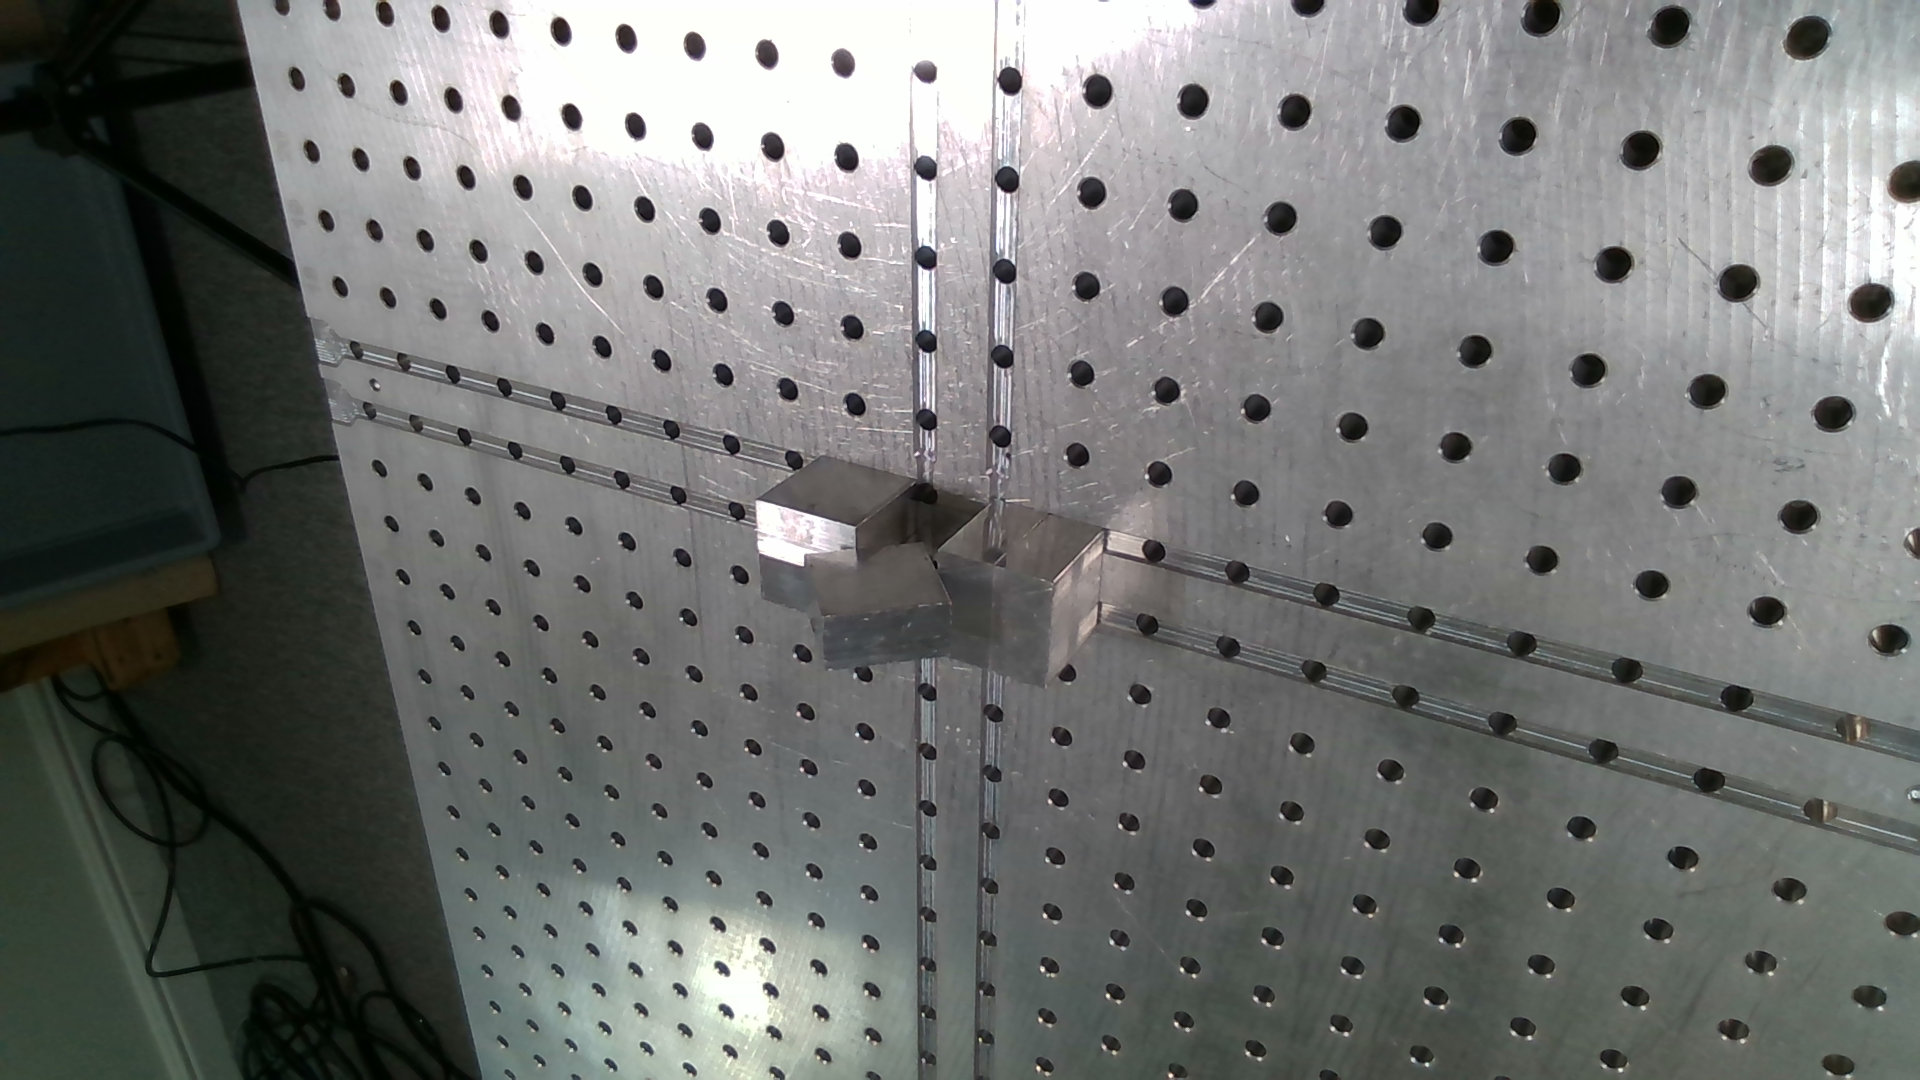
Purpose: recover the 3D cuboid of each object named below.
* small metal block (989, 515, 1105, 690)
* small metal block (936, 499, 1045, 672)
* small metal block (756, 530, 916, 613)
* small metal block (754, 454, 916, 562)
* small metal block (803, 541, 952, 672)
[{"bbox_3d":[0.035,0.024,0.558,0.025,0.050,0.050,16,123,24],"label":"small metal block"},{"bbox_3d":[0.013,0.018,0.568,0.025,0.050,0.050,16,123,24],"label":"small metal block"},{"bbox_3d":[-0.054,0.011,0.604,0.050,0.050,0.025,15,122,24],"label":"small metal block"},{"bbox_3d":[-0.053,-0.011,0.593,0.050,0.050,0.025,15,122,24],"label":"small metal block"},{"bbox_3d":[-0.034,0.025,0.548,0.050,0.050,0.025,-6,119,-13],"label":"small metal block"}]
